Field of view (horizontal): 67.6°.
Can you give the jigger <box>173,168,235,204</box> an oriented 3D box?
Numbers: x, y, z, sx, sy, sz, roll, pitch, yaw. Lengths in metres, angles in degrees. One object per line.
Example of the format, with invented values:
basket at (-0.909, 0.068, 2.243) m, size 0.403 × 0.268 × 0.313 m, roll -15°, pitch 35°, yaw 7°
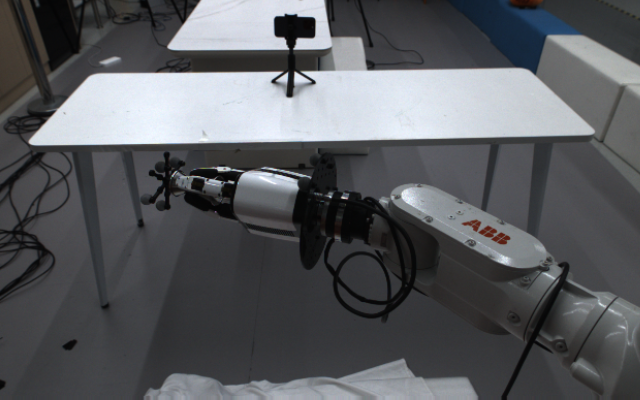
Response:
jigger at (-0.171, -0.023, 0.697) m, size 0.071 × 0.043 × 0.043 m, roll 11°, pitch 36°, yaw 16°
